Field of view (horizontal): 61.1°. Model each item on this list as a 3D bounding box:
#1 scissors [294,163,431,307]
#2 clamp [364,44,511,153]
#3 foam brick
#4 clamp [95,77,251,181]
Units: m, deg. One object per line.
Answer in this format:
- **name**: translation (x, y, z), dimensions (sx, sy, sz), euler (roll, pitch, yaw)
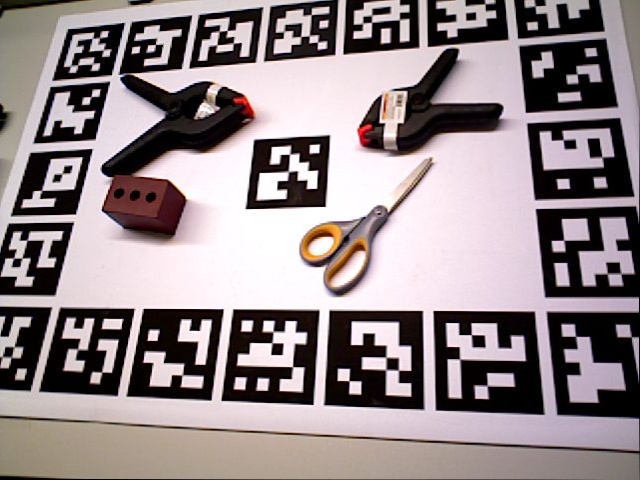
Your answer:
- **scissors**: translation (0.057, -0.018, 0.618), dimensions (0.087, 0.016, 0.201), euler (41, 80, 15)
- **clamp**: translation (0.127, -0.155, 0.653), dimensions (0.165, 0.037, 0.121), euler (-27, 73, 2)
- **foam brick**: translation (-0.219, -0.035, 0.673), dimensions (0.078, 0.051, 0.052), euler (5, 71, 19)
- **clamp**: translation (-0.193, -0.160, 0.721), dimensions (0.203, 0.037, 0.163), euler (-4, 65, 10)
